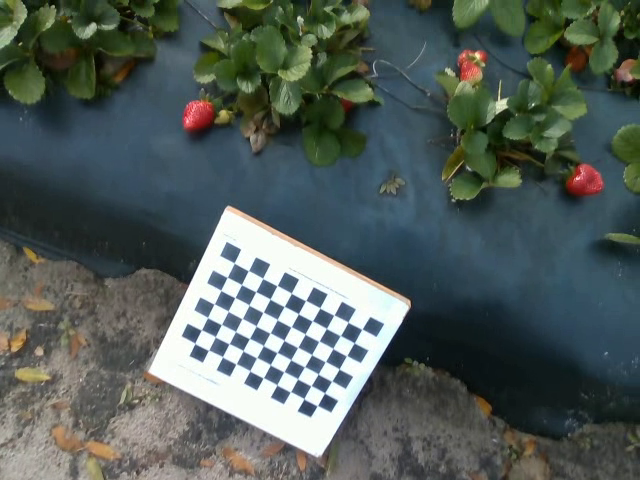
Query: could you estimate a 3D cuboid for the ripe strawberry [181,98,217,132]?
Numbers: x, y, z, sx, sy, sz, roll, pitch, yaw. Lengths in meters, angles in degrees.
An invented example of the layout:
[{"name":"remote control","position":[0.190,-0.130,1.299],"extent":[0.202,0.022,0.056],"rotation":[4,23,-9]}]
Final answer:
[{"name":"ripe strawberry","position":[-0.171,-0.165,0.625],"extent":[0.045,0.058,0.051],"rotation":[31,-37,-4]}]
